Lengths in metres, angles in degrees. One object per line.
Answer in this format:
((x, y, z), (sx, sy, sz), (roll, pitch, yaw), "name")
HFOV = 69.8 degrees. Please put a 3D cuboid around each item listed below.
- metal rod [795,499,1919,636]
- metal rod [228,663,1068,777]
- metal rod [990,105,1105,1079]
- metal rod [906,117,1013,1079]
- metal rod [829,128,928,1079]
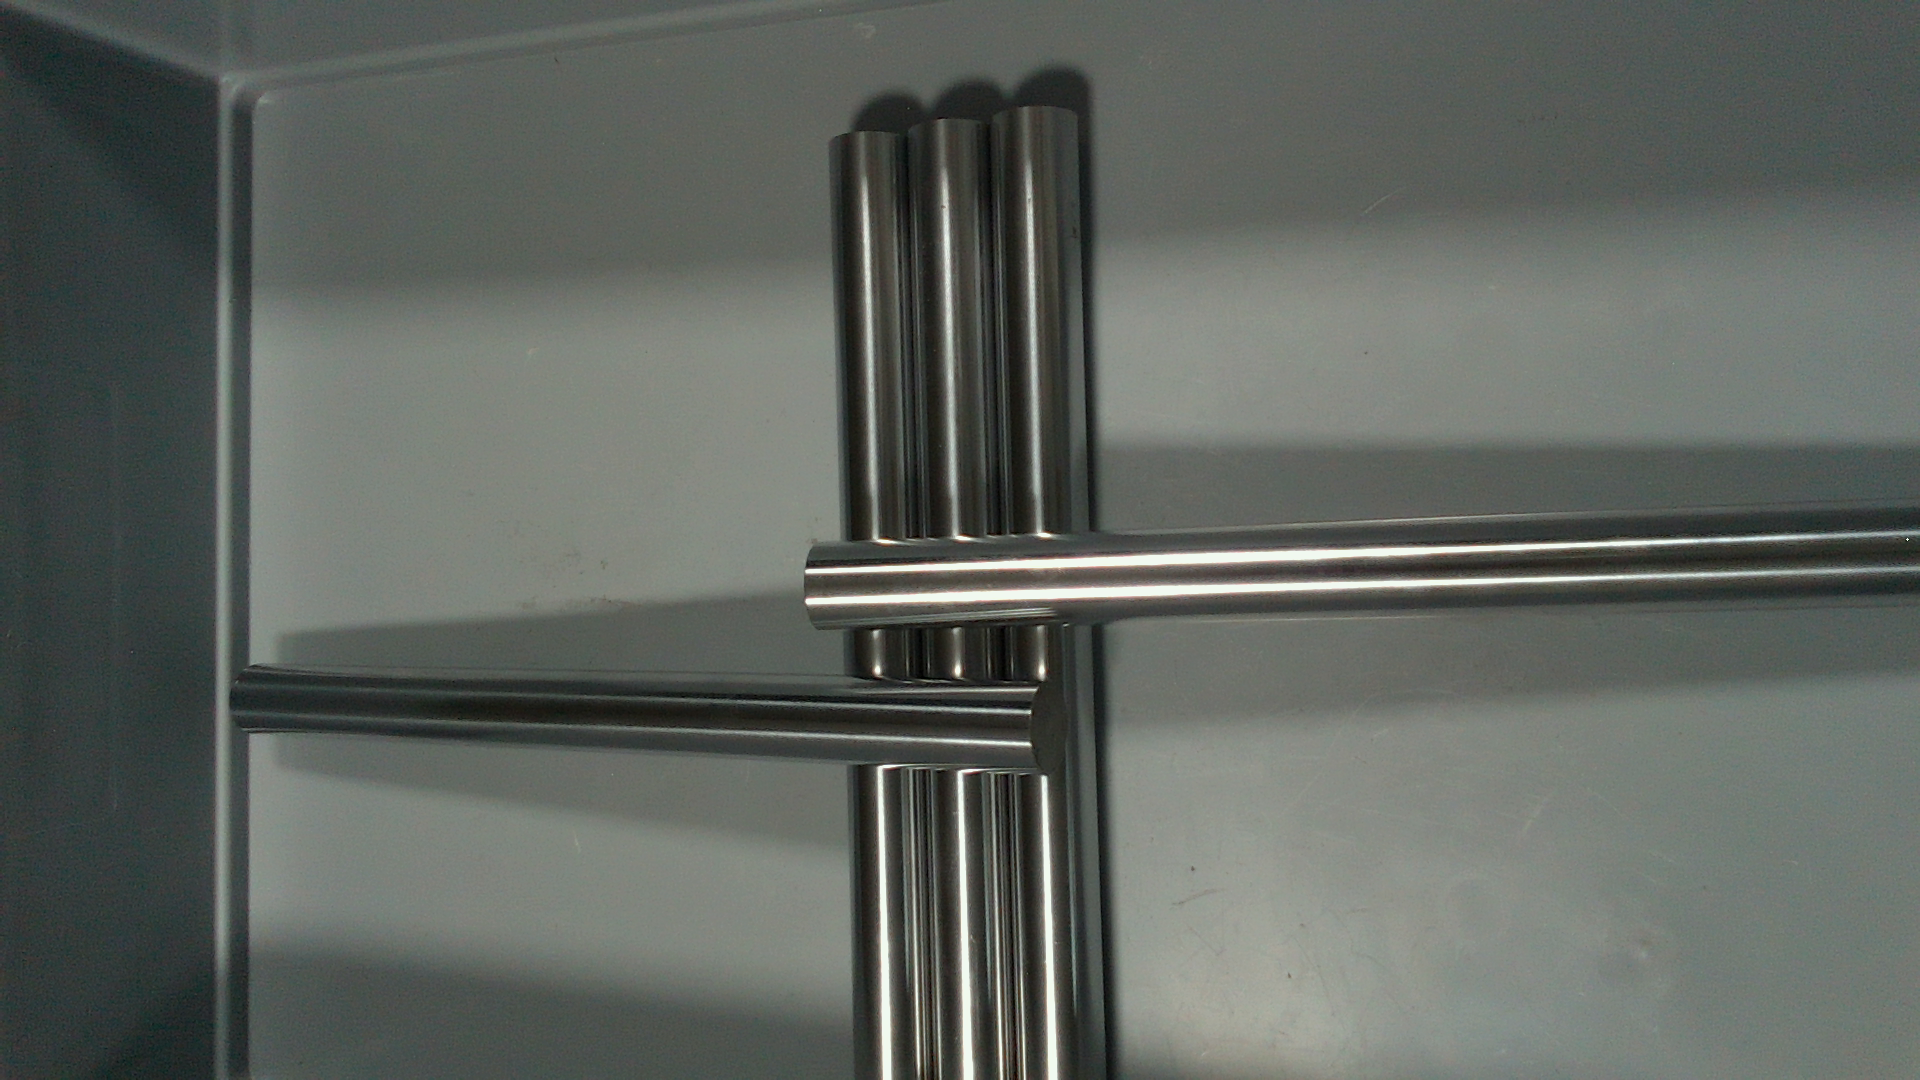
((0.105, 0.008, 0.339), (0.299, 0.025, 0.025), (-2, 89, 14), "metal rod")
((-0.111, 0.052, 0.418), (0.299, 0.025, 0.025), (-2, 90, 26), "metal rod")
((0.025, 0.031, 0.386), (0.025, 0.025, 0.300), (-2, 90, 20), "metal rod")
((0.001, 0.032, 0.395), (0.025, 0.025, 0.300), (-2, 90, 20), "metal rod")
((-0.022, 0.033, 0.403), (0.025, 0.025, 0.300), (-2, 90, 20), "metal rod")
